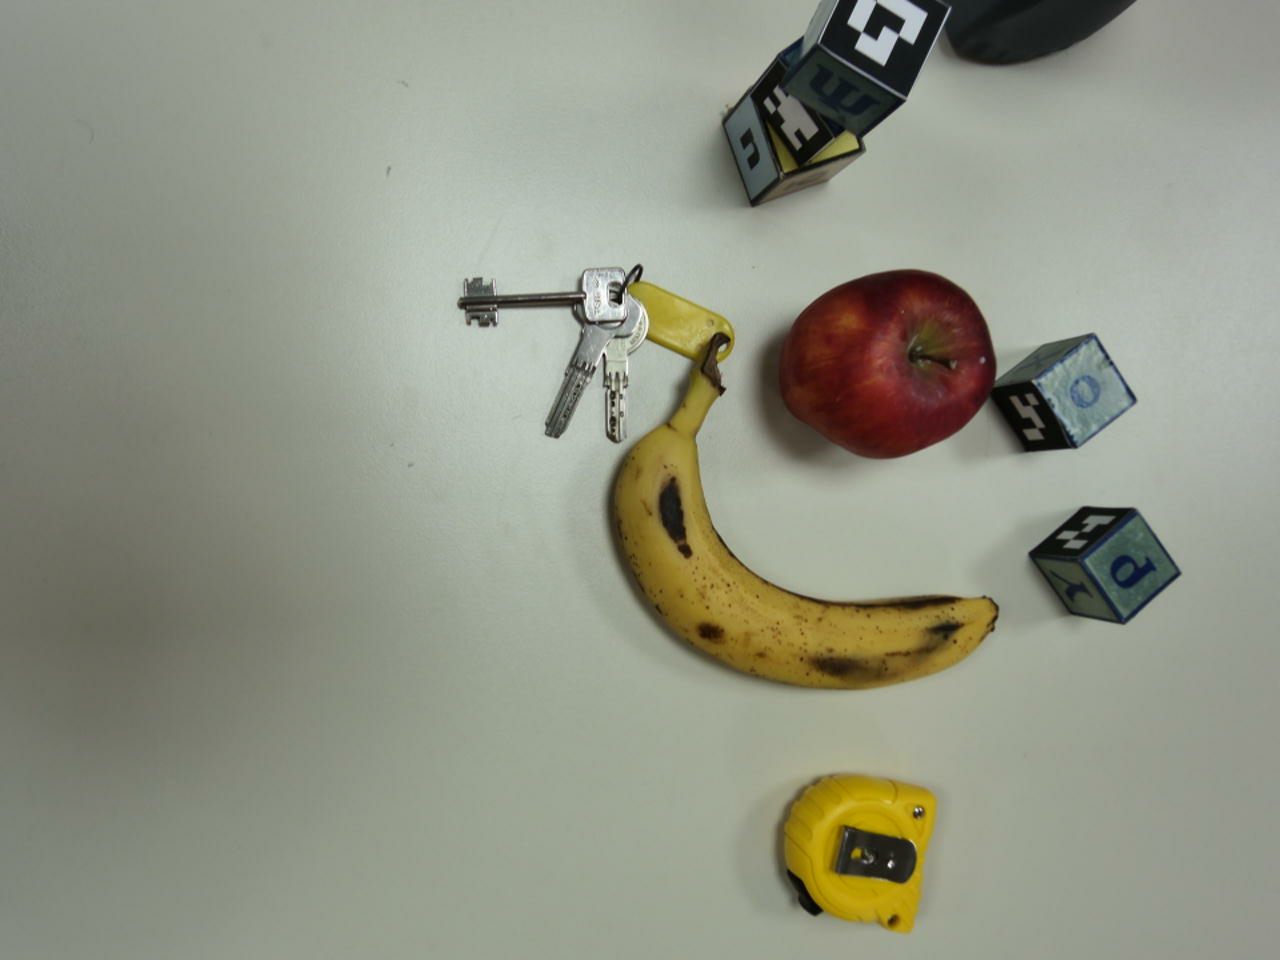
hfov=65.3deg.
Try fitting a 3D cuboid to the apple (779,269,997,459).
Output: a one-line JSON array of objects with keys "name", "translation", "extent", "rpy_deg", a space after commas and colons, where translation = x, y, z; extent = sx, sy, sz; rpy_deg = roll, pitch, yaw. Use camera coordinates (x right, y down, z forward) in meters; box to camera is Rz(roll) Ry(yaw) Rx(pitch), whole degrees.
[{"name": "apple", "translation": [0.102, -0.048, 0.410], "extent": [0.083, 0.090, 0.083], "rpy_deg": [0, 90, -11]}]
